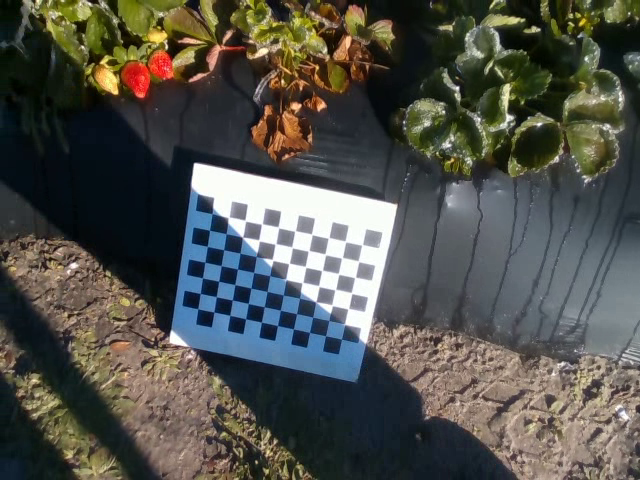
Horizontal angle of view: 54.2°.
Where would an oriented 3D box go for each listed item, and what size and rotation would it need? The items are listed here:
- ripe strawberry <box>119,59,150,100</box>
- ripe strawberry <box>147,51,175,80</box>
[{"bbox_3d":[-0.228,-0.194,0.782,0.037,0.052,0.040,-26,-27,9],"label":"ripe strawberry"},{"bbox_3d":[-0.199,-0.219,0.792,0.041,0.036,0.030,39,13,0],"label":"ripe strawberry"}]
